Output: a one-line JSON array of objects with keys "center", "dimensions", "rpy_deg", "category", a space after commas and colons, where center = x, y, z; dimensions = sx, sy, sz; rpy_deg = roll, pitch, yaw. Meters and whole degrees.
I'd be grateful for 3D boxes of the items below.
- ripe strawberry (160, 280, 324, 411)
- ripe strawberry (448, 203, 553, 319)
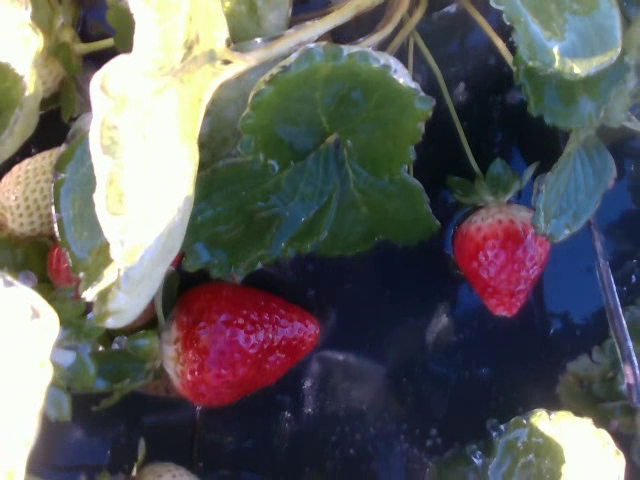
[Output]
[{"center": [-0.021, 0.038, 0.204], "dimensions": [0.056, 0.044, 0.040], "rpy_deg": [-2, 26, -28], "category": "ripe strawberry"}, {"center": [0.068, 0.009, 0.219], "dimensions": [0.039, 0.047, 0.040], "rpy_deg": [-13, 19, -23], "category": "ripe strawberry"}]
